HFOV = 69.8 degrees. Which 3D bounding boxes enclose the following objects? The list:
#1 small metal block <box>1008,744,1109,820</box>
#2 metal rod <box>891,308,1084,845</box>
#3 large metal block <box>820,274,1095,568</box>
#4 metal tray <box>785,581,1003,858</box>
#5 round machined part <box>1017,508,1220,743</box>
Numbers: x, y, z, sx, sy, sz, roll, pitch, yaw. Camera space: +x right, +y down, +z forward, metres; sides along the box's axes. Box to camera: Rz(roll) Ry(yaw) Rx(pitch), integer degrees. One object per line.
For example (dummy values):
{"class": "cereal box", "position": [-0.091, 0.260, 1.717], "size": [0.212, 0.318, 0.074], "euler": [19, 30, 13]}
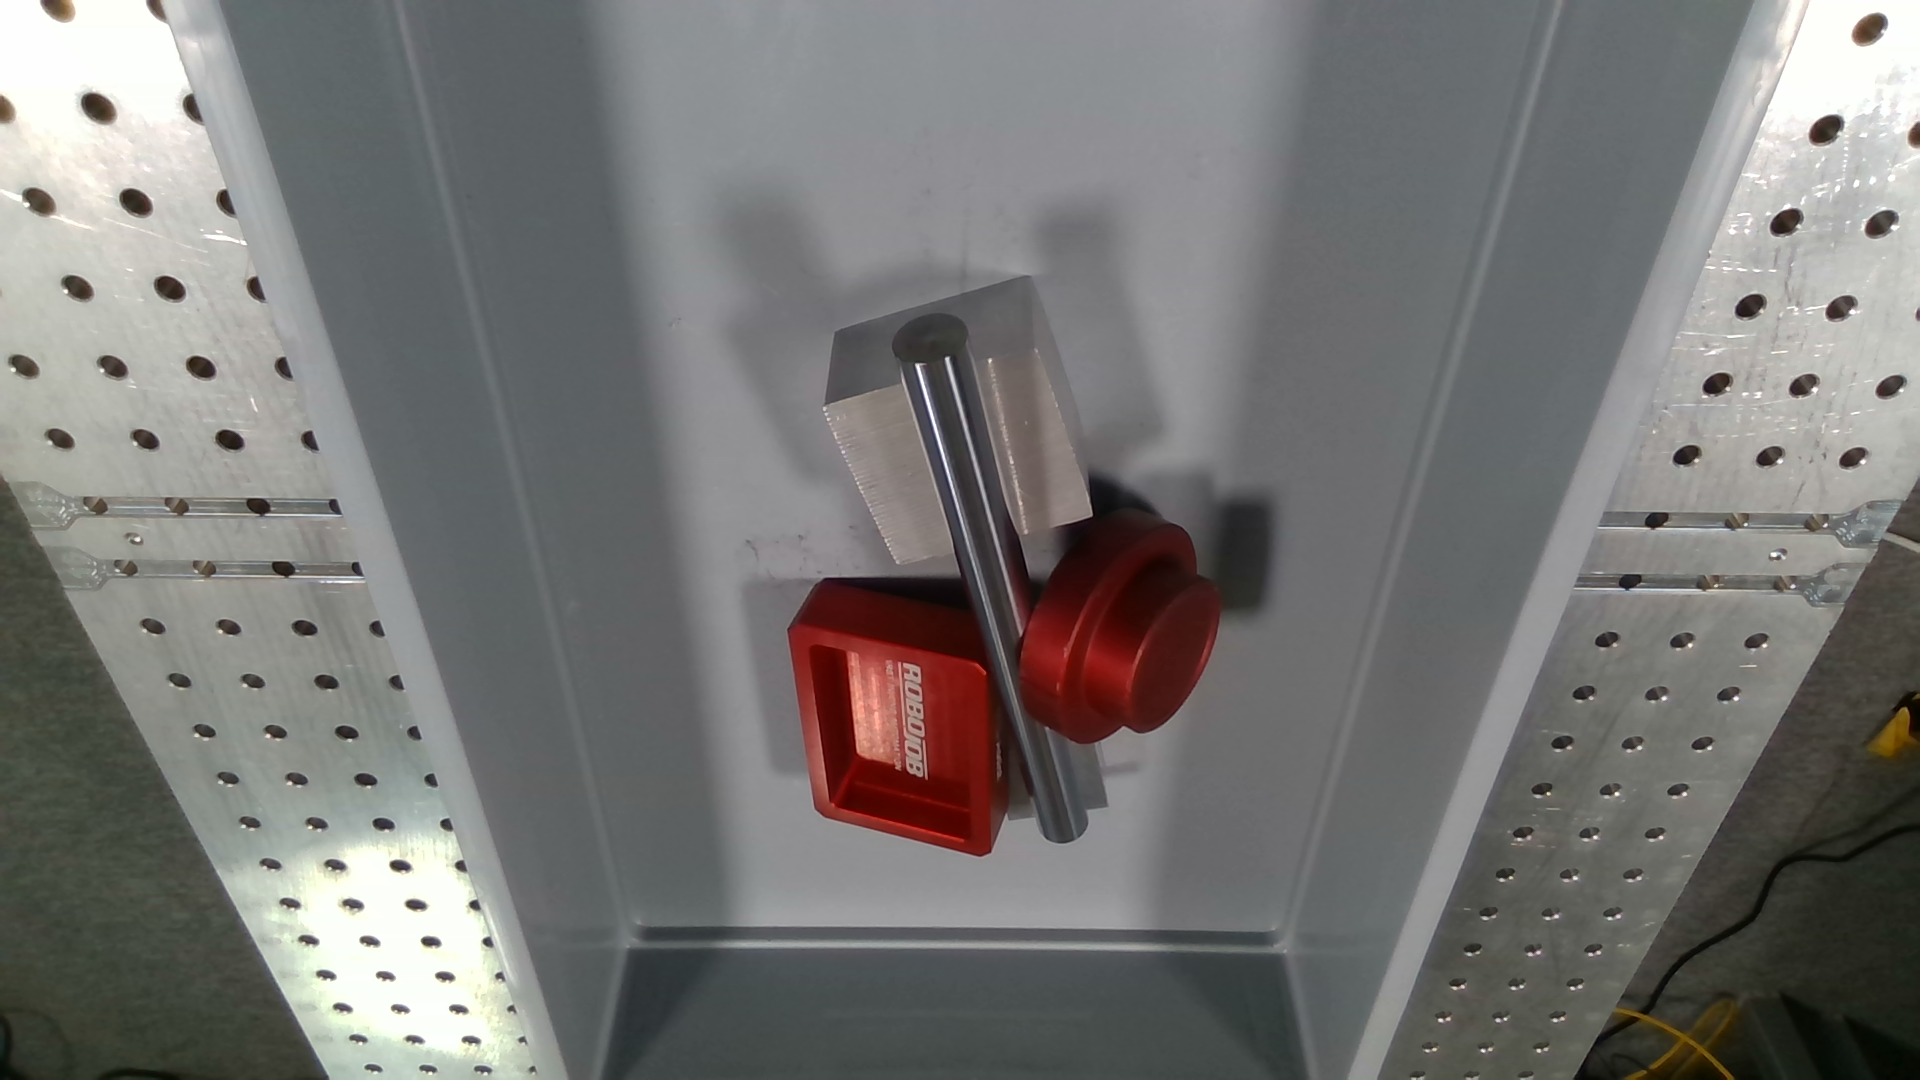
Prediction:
{"class": "small metal block", "position": [0.043, 0.107, 0.667], "size": [0.050, 0.025, 0.050], "euler": [-9, 129, 7]}
{"class": "metal rod", "position": [0.019, 0.034, 0.548], "size": [0.025, 0.025, 0.301], "euler": [-9, 137, 7]}
{"class": "large metal block", "position": [0.001, -0.044, 0.524], "size": [0.080, 0.050, 0.080], "euler": [-14, 129, 11]}
{"class": "metal tray", "position": [-0.026, 0.084, 0.627], "size": [0.090, 0.030, 0.130], "euler": [12, 132, 16]}
{"class": "round machined part", "position": [0.070, 0.039, 0.561], "size": [0.042, 0.098, 0.098], "euler": [26, 139, 32]}
